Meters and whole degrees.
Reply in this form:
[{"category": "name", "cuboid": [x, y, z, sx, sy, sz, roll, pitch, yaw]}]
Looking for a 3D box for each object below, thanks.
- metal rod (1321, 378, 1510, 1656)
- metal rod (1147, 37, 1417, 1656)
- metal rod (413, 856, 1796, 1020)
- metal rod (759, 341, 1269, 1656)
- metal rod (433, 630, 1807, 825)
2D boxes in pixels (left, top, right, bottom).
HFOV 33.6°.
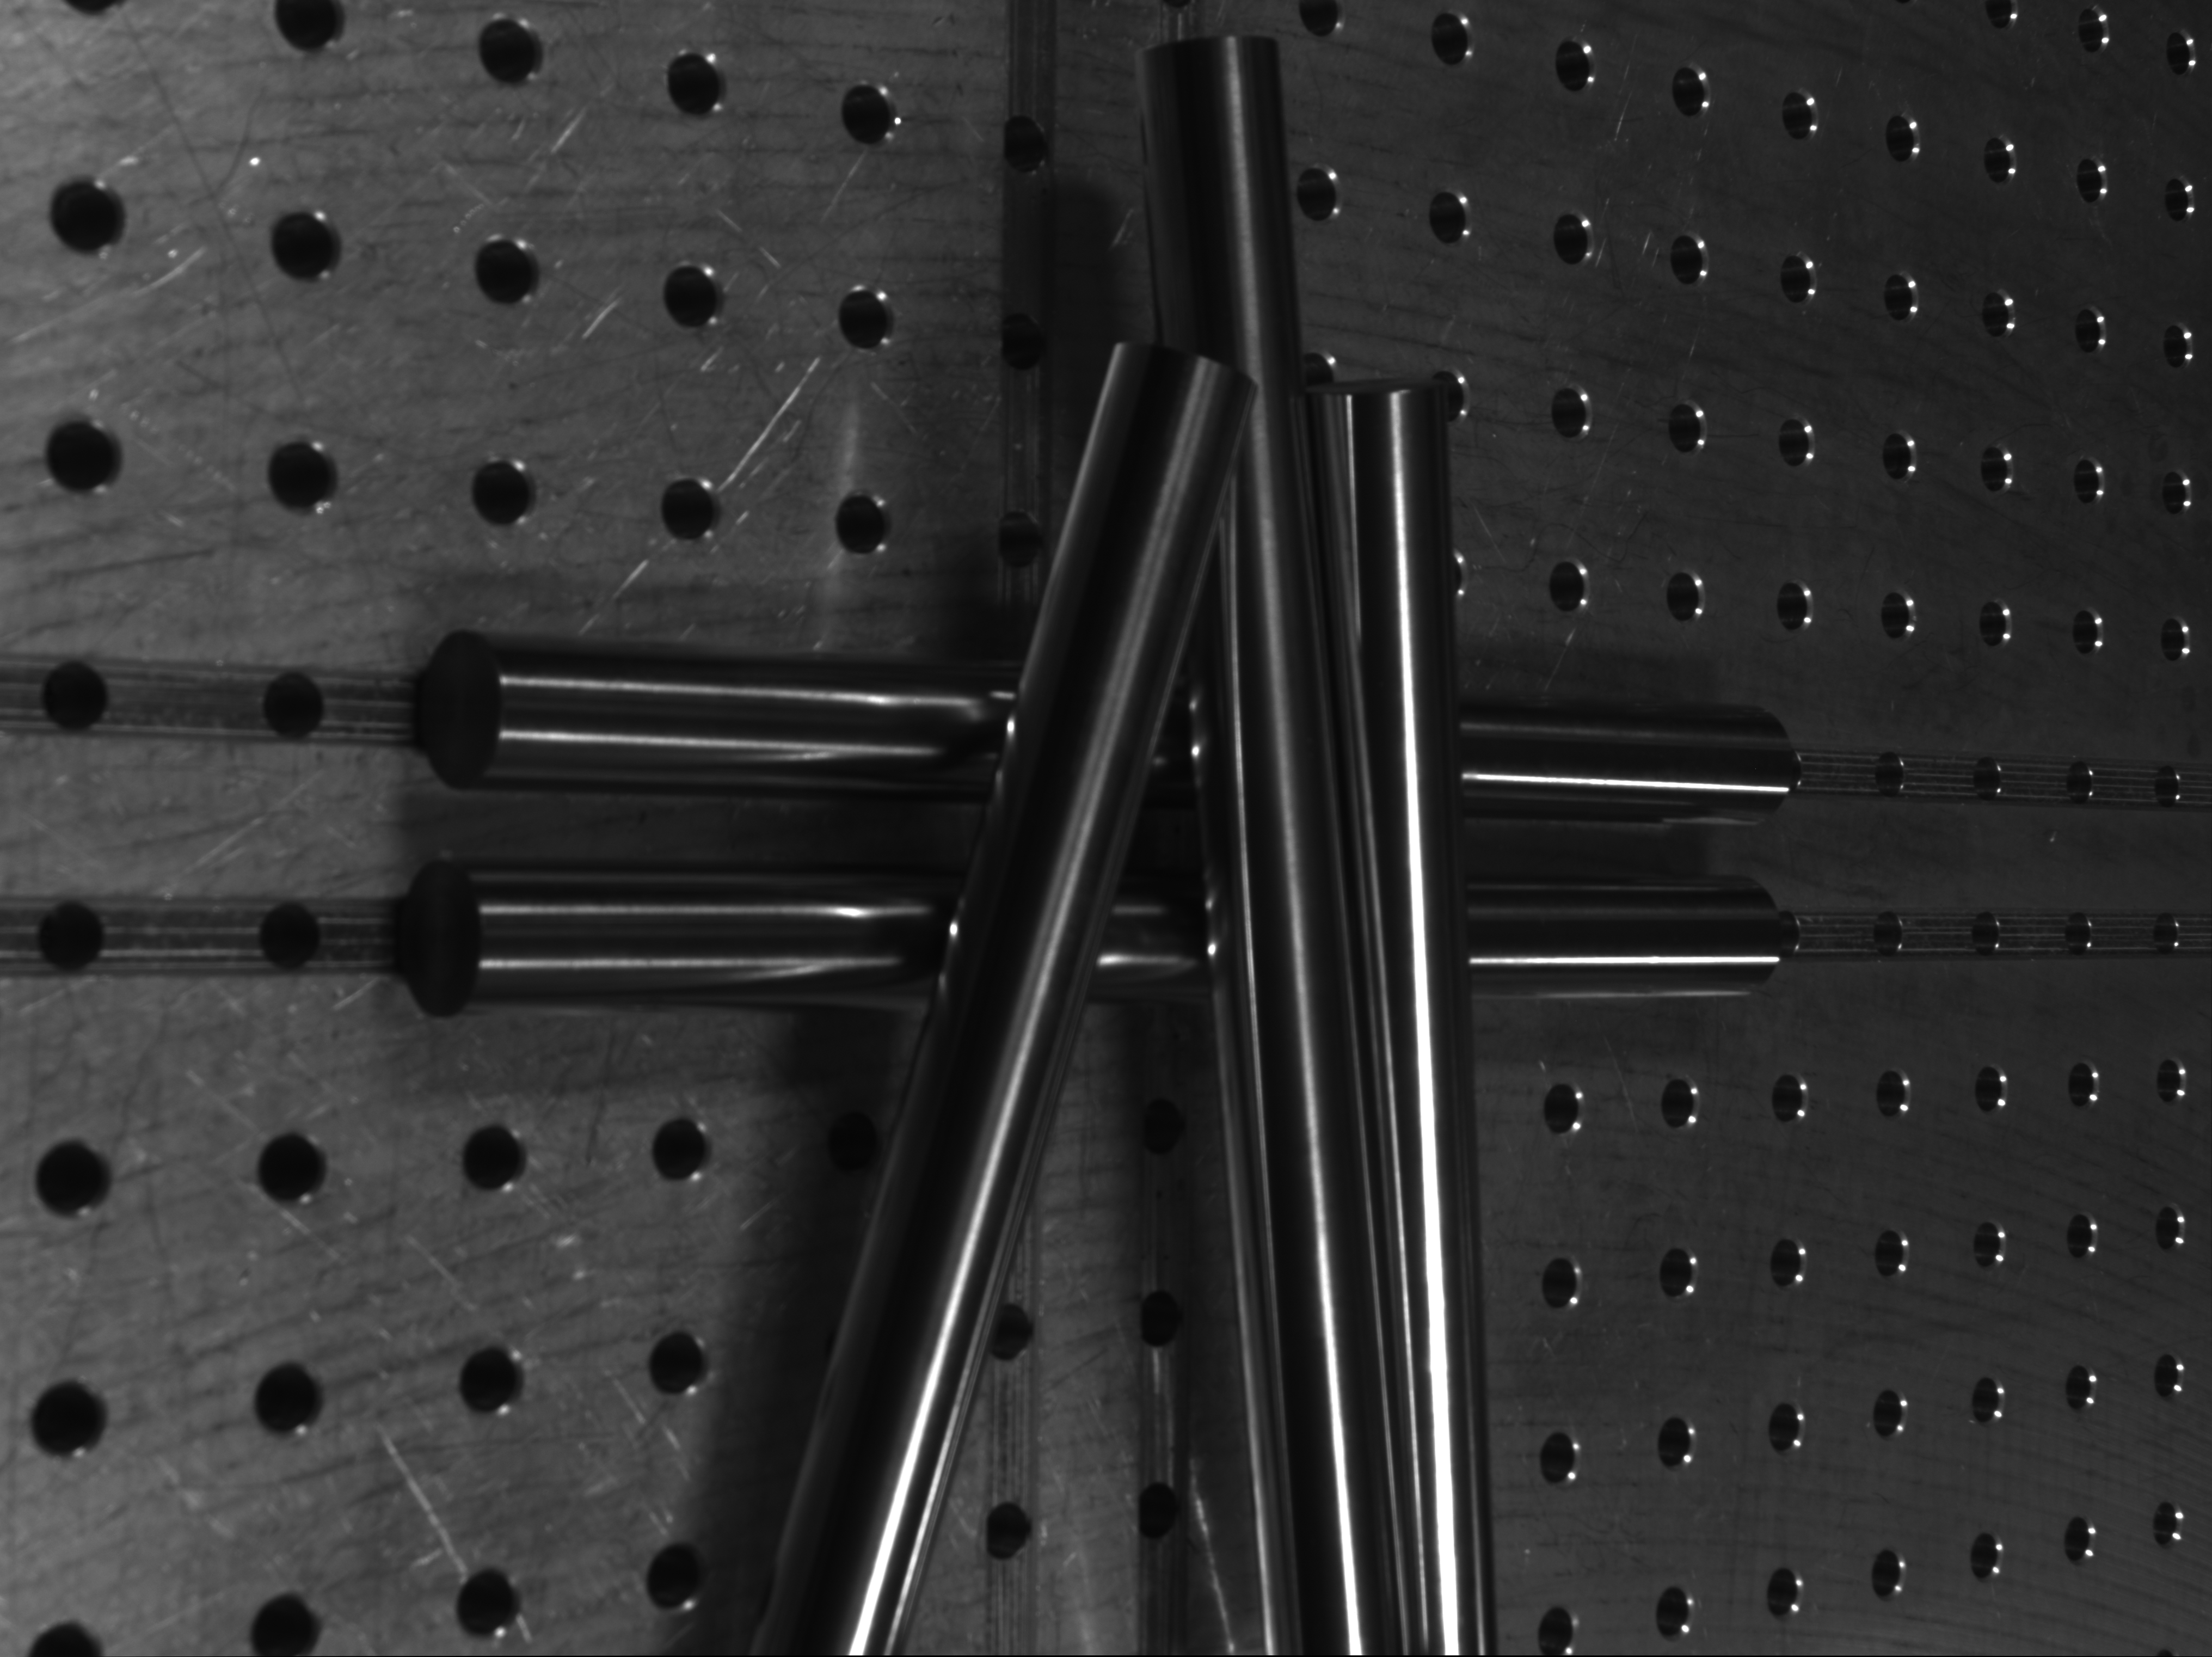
[{"category": "metal rod", "cuboid": [0.058, 0.070, 0.664, 0.025, 0.025, 0.300, -13, 106, -39]}, {"category": "metal rod", "cuboid": [0.032, 0.016, 0.635, 0.025, 0.025, 0.300, -8, 95, -39]}, {"category": "metal rod", "cuboid": [0.016, 0.019, 0.654, 0.301, 0.025, 0.025, 1, 89, -40]}, {"category": "metal rod", "cuboid": [-0.025, 0.068, 0.596, 0.025, 0.025, 0.300, 18, 85, -38]}, {"category": "metal rod", "cuboid": [0.019, -0.015, 0.656, 0.301, 0.025, 0.025, 1, 89, -40]}]
